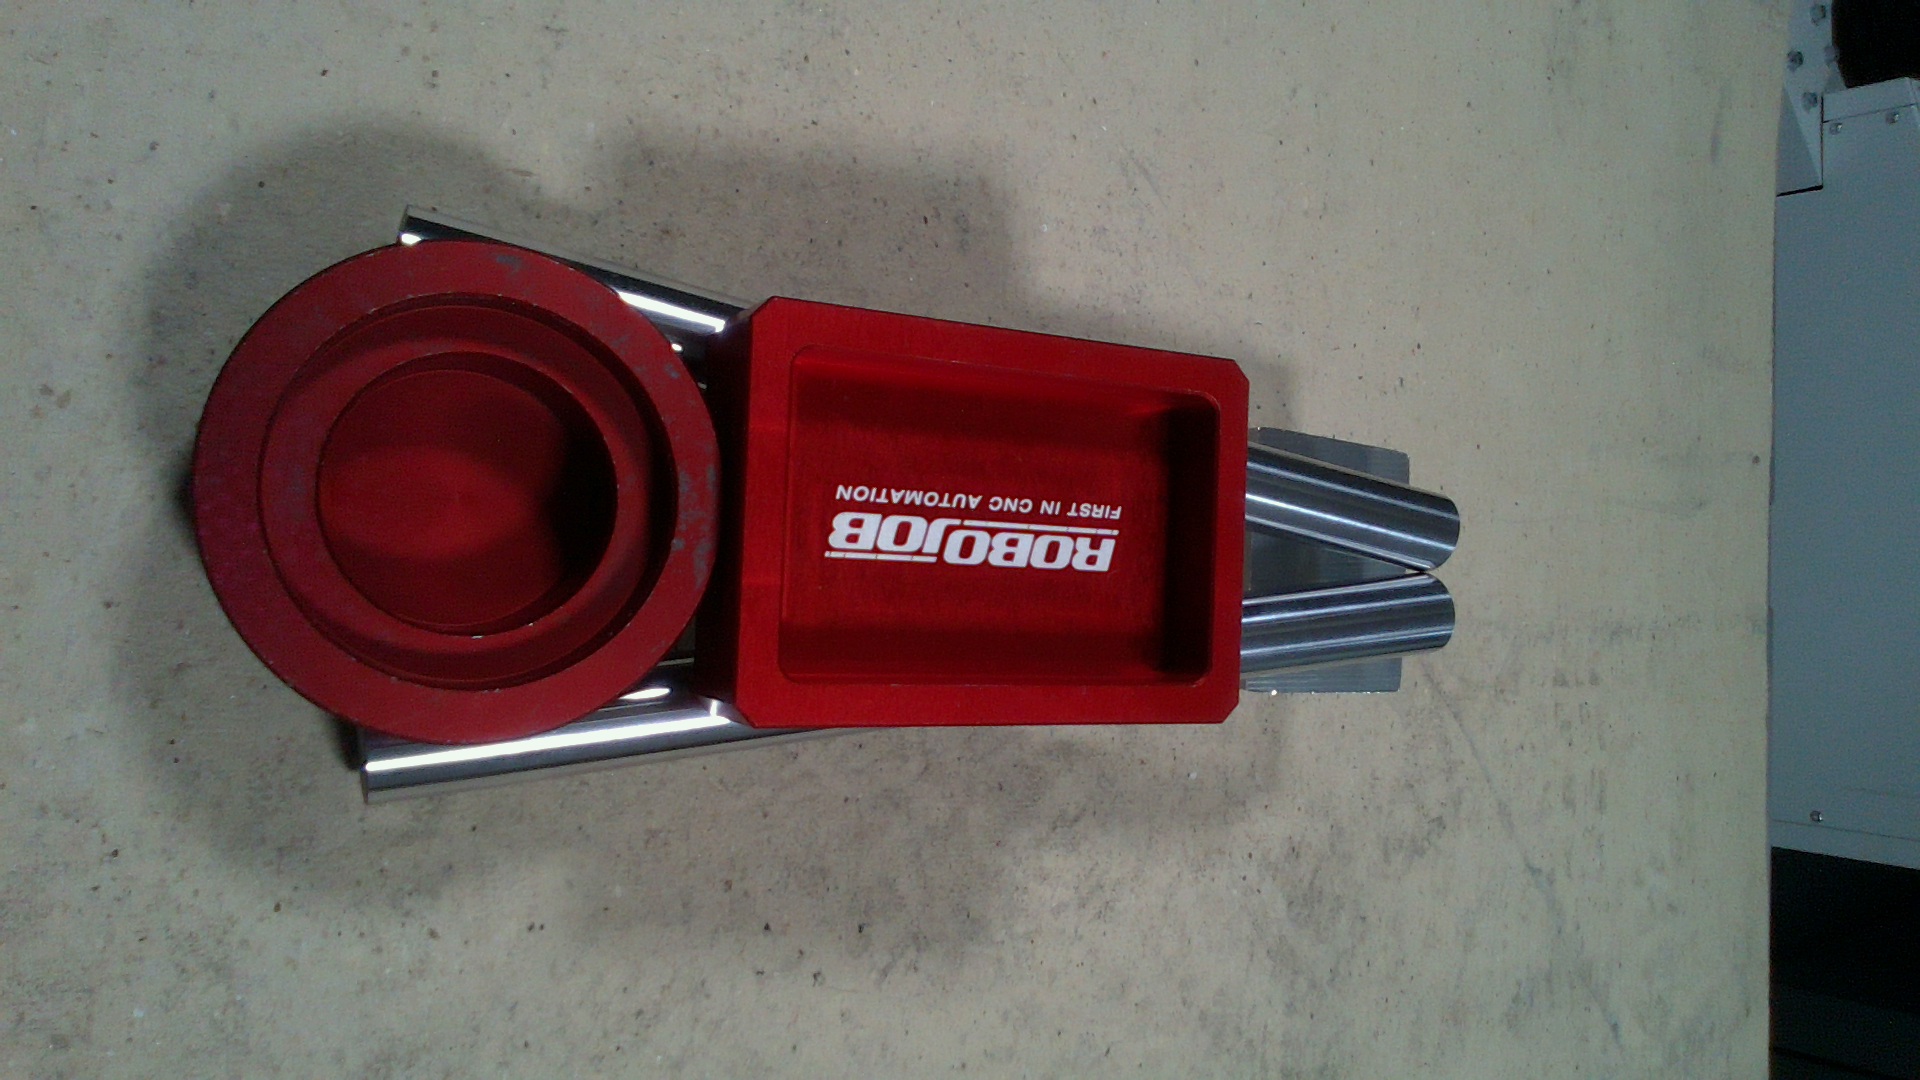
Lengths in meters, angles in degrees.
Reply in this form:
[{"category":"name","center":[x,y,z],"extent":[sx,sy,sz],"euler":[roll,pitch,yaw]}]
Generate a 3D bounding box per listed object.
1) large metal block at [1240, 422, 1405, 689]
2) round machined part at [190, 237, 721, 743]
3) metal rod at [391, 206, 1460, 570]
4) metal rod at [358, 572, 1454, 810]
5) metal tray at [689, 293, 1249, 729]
[{"category":"large metal block","center":[0.101,0.007,0.455],"extent":[0.080,0.050,0.080],"euler":[5,87,-40]},{"category":"round machined part","center":[-0.103,-0.010,0.285],"extent":[0.098,0.042,0.098],"euler":[0,89,-29]},{"category":"metal rod","center":[0.013,-0.031,0.358],"extent":[0.301,0.025,0.025],"euler":[12,82,-26]},{"category":"metal rod","center":[0.009,0.033,0.355],"extent":[0.301,0.025,0.025],"euler":[-5,93,-27]},{"category":"metal tray","center":[0.006,-0.003,0.323],"extent":[0.130,0.030,0.090],"euler":[3,88,-27]}]
